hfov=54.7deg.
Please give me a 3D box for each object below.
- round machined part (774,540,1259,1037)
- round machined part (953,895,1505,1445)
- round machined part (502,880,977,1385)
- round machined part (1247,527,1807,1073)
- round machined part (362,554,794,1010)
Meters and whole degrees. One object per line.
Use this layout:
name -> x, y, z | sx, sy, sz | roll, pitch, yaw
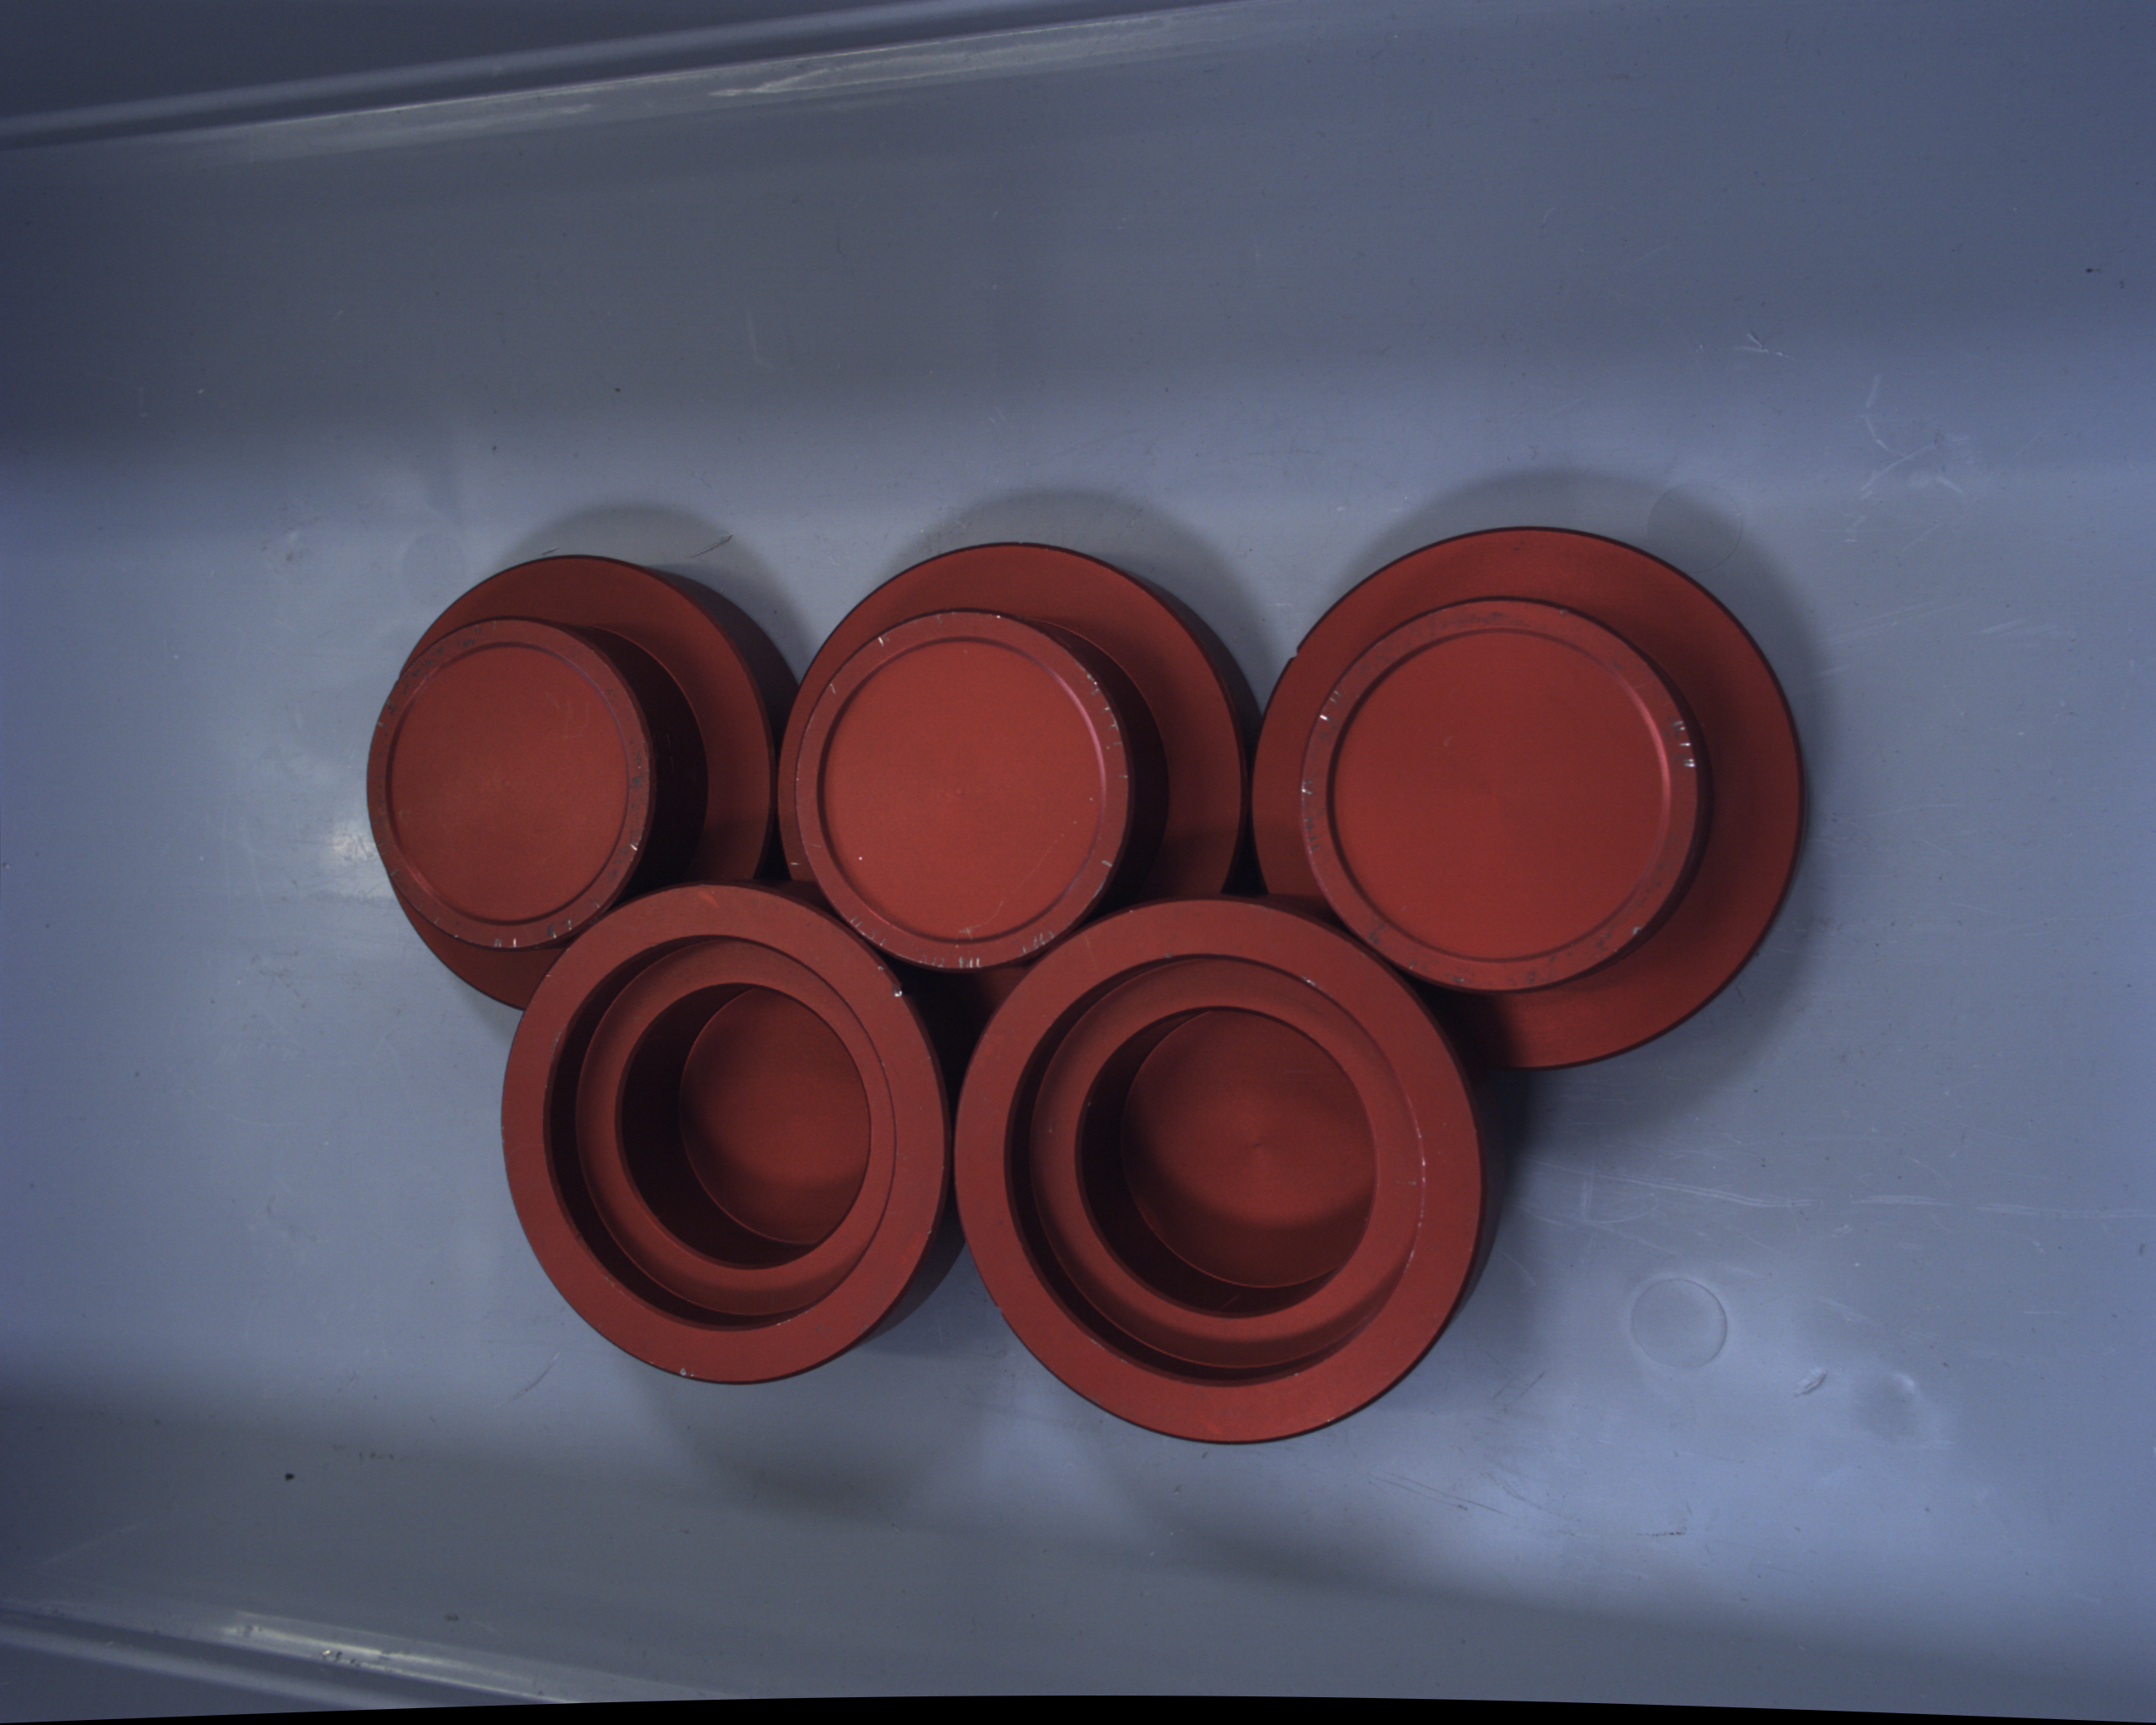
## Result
round machined part -> -0.016, -0.014, 0.405 | 0.098, 0.042, 0.097 | 0, 89, 20
round machined part -> 0.030, 0.054, 0.389 | 0.098, 0.042, 0.097 | 0, 90, 20
round machined part -> -0.063, 0.052, 0.422 | 0.098, 0.042, 0.097 | 0, 90, 20
round machined part -> 0.077, -0.011, 0.371 | 0.098, 0.042, 0.097 | 0, 89, 20
round machined part -> -0.108, -0.016, 0.437 | 0.098, 0.042, 0.097 | 0, 89, 19
